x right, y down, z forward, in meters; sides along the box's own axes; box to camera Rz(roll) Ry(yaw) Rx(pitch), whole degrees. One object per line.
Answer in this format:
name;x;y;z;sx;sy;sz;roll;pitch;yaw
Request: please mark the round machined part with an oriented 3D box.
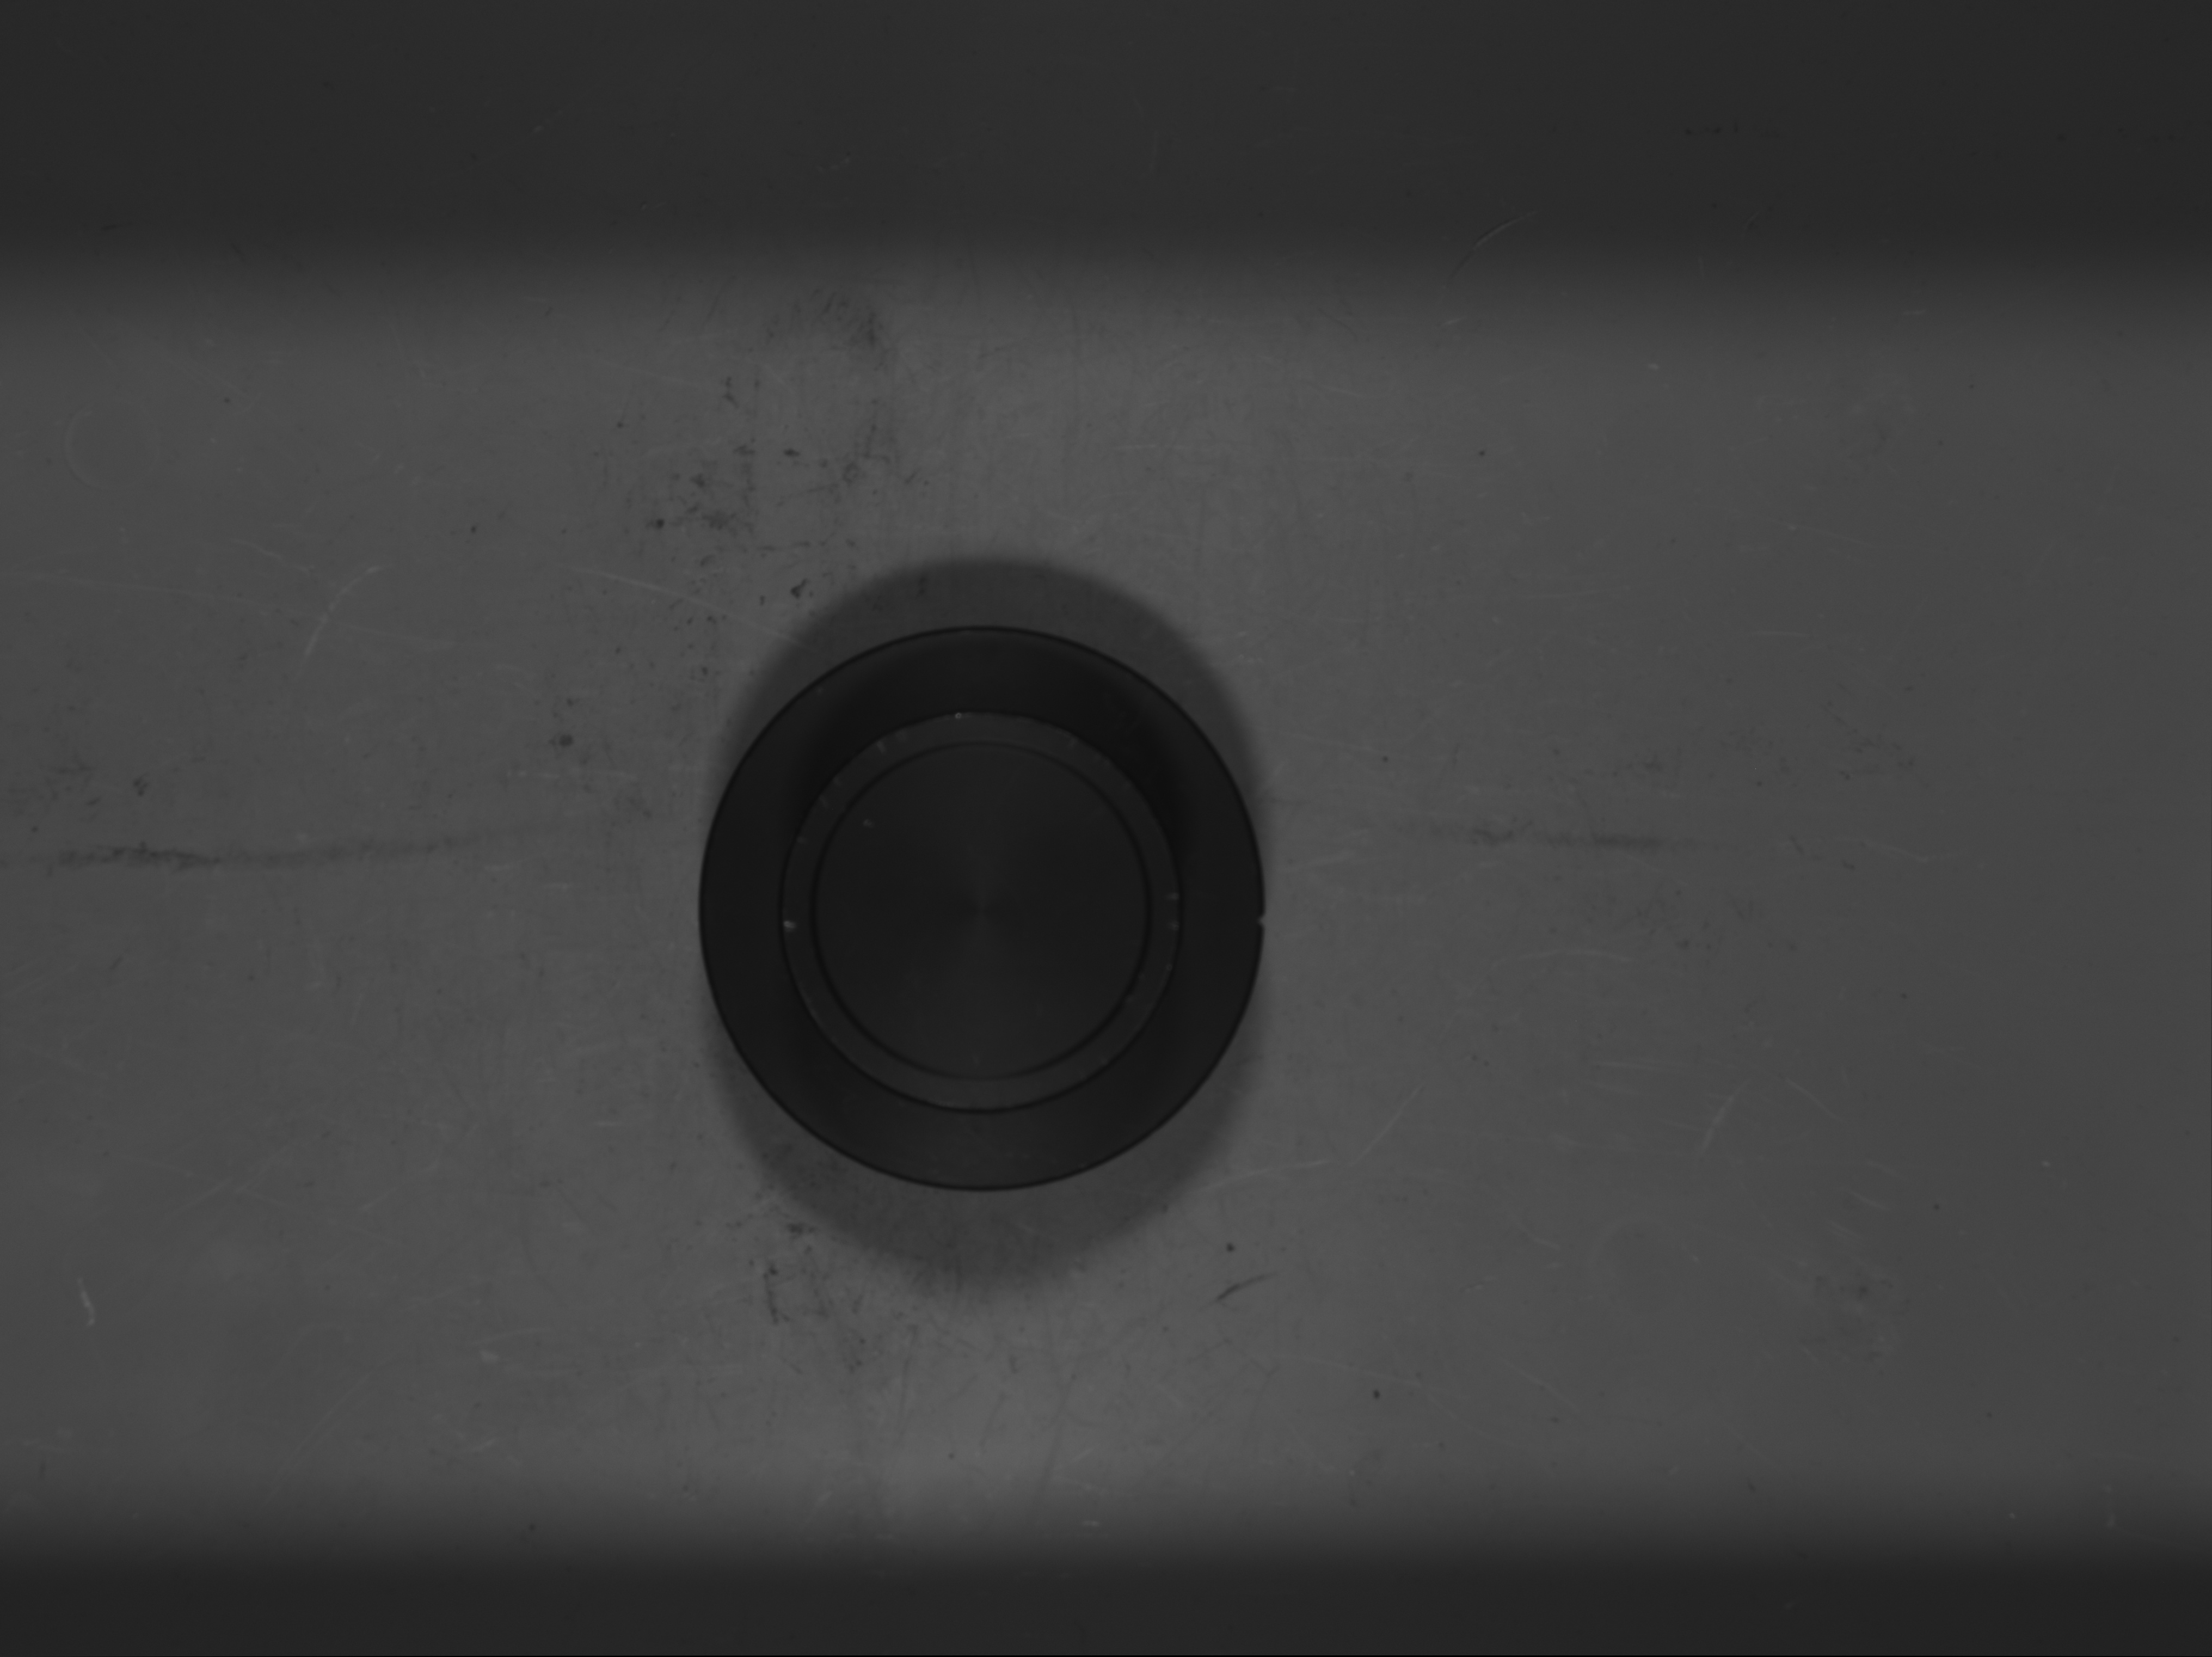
round machined part;-0.017;0.014;0.633;0.098;0.042;0.098;0;90;0
